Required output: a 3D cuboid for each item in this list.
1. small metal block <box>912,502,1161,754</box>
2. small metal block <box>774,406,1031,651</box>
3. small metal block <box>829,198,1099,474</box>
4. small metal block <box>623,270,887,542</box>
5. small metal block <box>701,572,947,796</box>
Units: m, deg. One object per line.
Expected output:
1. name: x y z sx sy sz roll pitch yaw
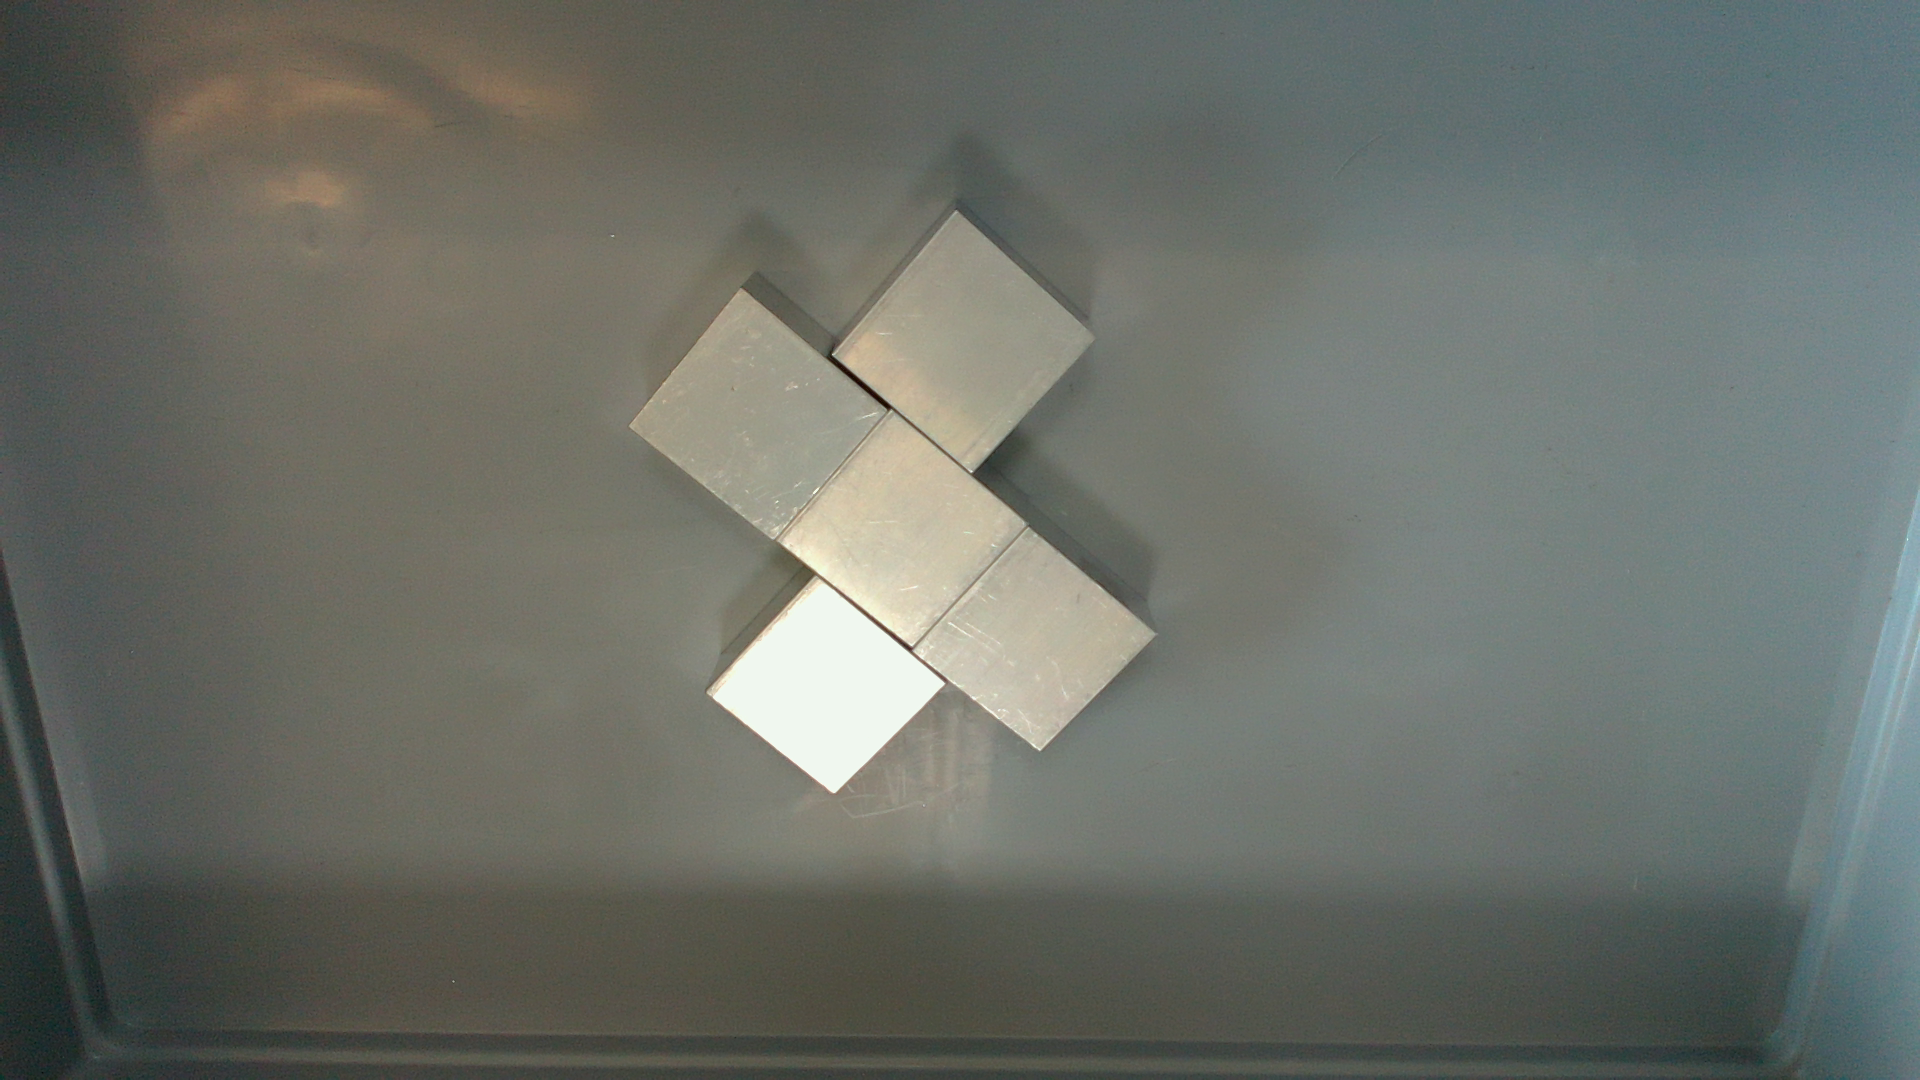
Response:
1. small metal block: 0.022 0.025 0.401 0.050 0.025 0.050 39 105 -13
2. small metal block: -0.016 -0.006 0.389 0.050 0.025 0.050 39 105 -13
3. small metal block: 0.001 -0.055 0.371 0.050 0.025 0.050 40 104 -13
4. small metal block: -0.055 -0.037 0.378 0.050 0.025 0.050 39 105 -13
5. small metal block: -0.039 0.038 0.407 0.050 0.025 0.050 41 106 -14
